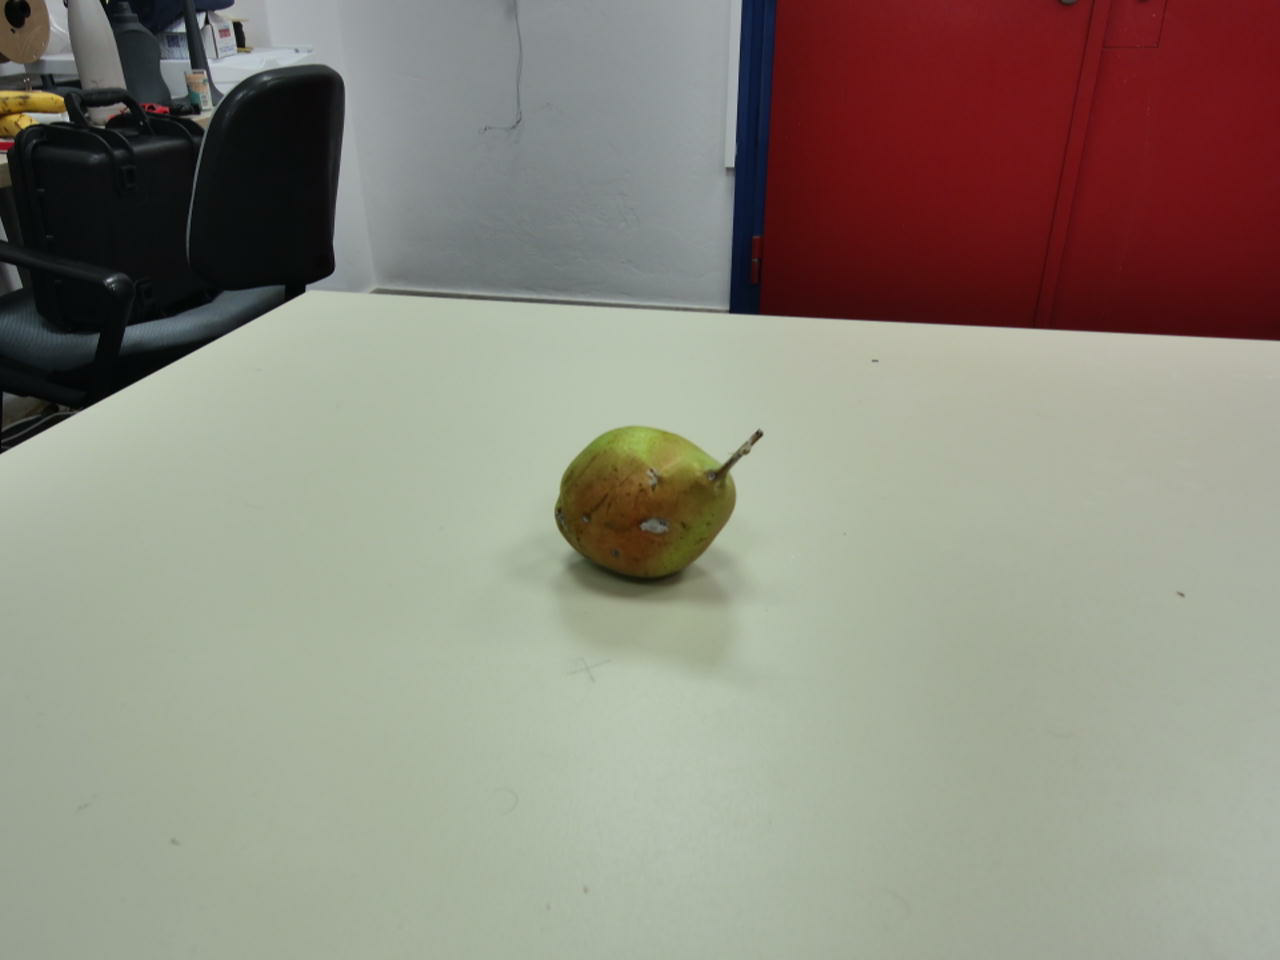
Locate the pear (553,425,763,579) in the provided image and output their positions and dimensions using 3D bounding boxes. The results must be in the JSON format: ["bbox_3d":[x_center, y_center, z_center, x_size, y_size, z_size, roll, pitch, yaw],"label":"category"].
[{"bbox_3d":[0.002,0.007,0.412,0.068,0.069,0.070,-11,26,-23],"label":"pear"}]
